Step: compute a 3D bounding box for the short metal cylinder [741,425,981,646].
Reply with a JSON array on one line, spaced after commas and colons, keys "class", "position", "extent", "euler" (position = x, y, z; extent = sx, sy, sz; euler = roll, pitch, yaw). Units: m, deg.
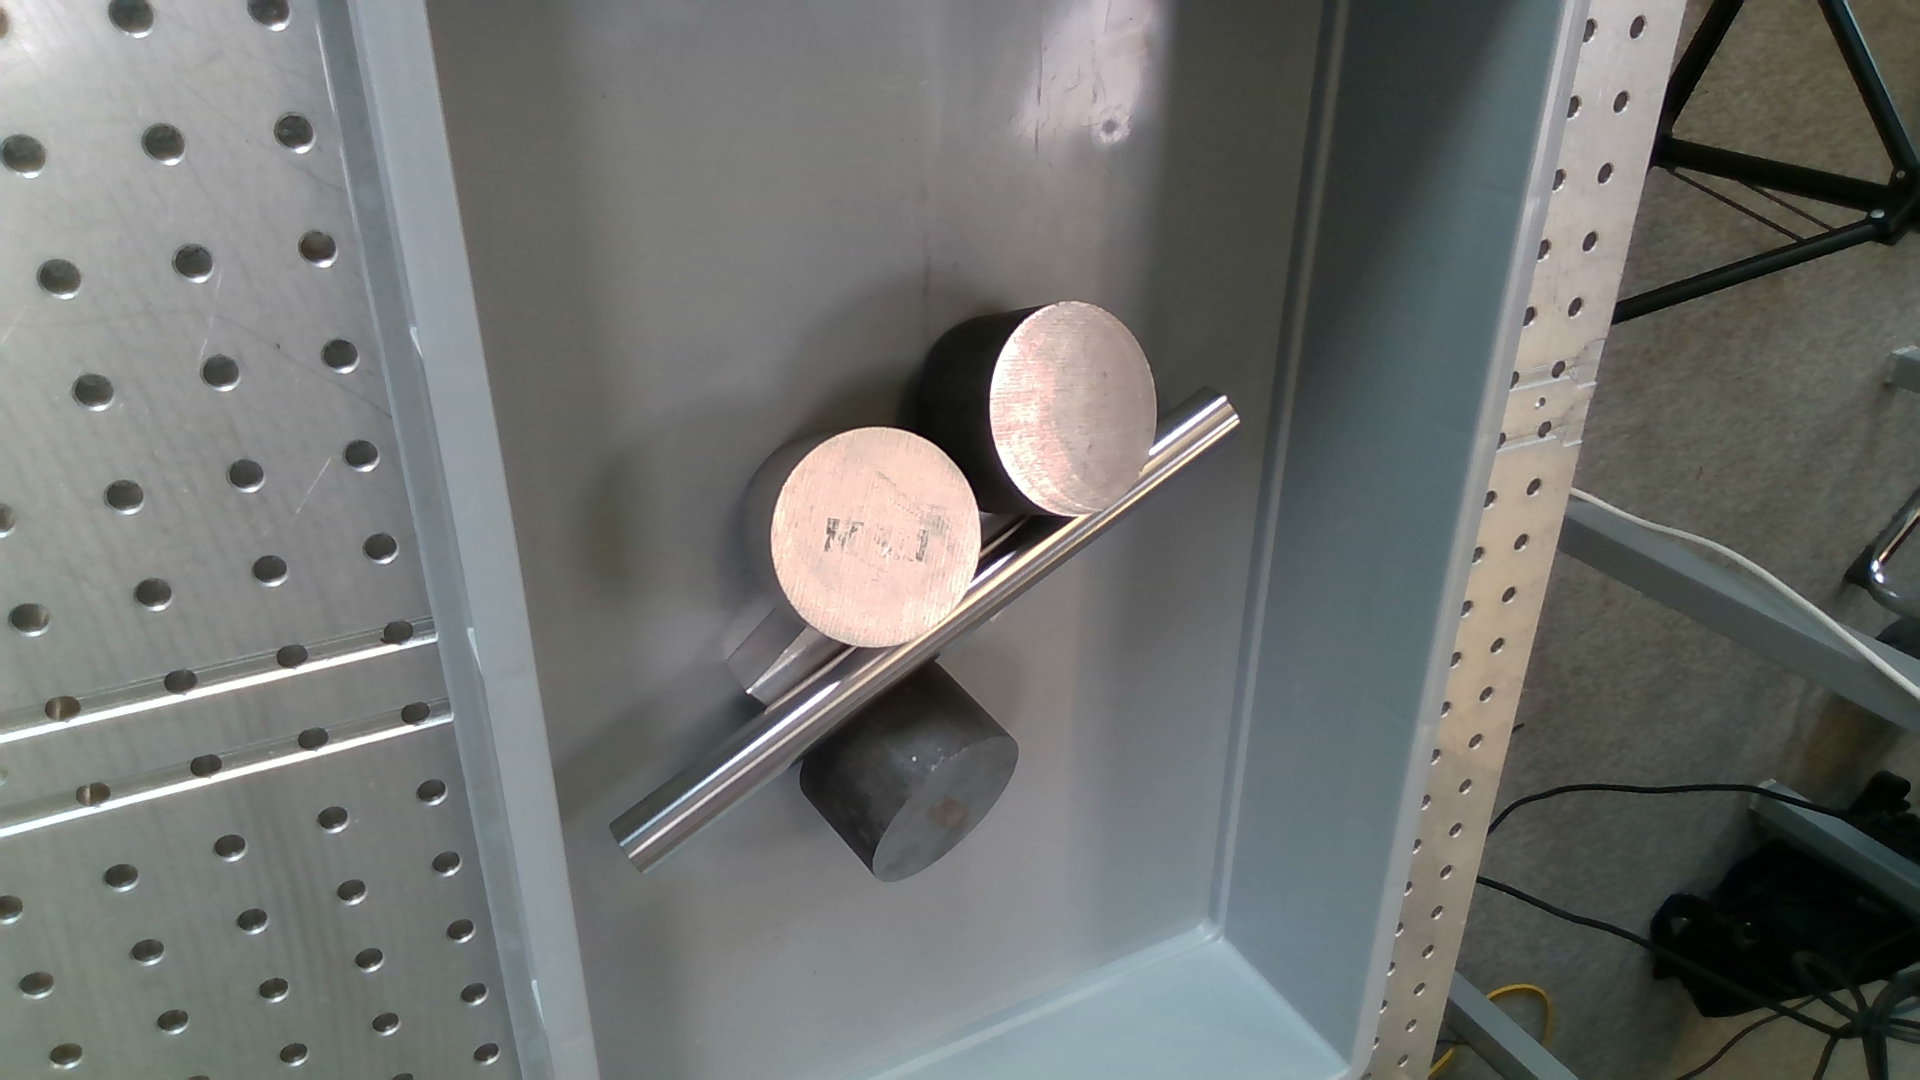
[{"class": "short metal cylinder", "position": [-0.039, -0.003, 0.521], "extent": [0.080, 0.050, 0.080], "euler": [-2, 94, -22]}]

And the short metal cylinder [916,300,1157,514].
[{"class": "short metal cylinder", "position": [0.030, -0.051, 0.537], "extent": [0.080, 0.050, 0.080], "euler": [-2, 93, -34]}]

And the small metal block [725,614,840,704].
[{"class": "small metal block", "position": [-0.059, 0.049, 0.570], "extent": [0.050, 0.025, 0.050], "euler": [-48, 129, -1]}]

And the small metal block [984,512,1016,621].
[{"class": "small metal block", "position": [0.008, -0.001, 0.584], "extent": [0.050, 0.025, 0.050], "euler": [-50, 129, 1]}]

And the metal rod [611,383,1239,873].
[{"class": "metal rod", "position": [-0.009, 0.031, 0.558], "extent": [0.300, 0.025, 0.025], "euler": [-36, 128, -10]}]

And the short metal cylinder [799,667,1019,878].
[{"class": "short metal cylinder", "position": [-0.021, 0.097, 0.587], "extent": [0.080, 0.050, 0.080], "euler": [-35, 150, -24]}]
